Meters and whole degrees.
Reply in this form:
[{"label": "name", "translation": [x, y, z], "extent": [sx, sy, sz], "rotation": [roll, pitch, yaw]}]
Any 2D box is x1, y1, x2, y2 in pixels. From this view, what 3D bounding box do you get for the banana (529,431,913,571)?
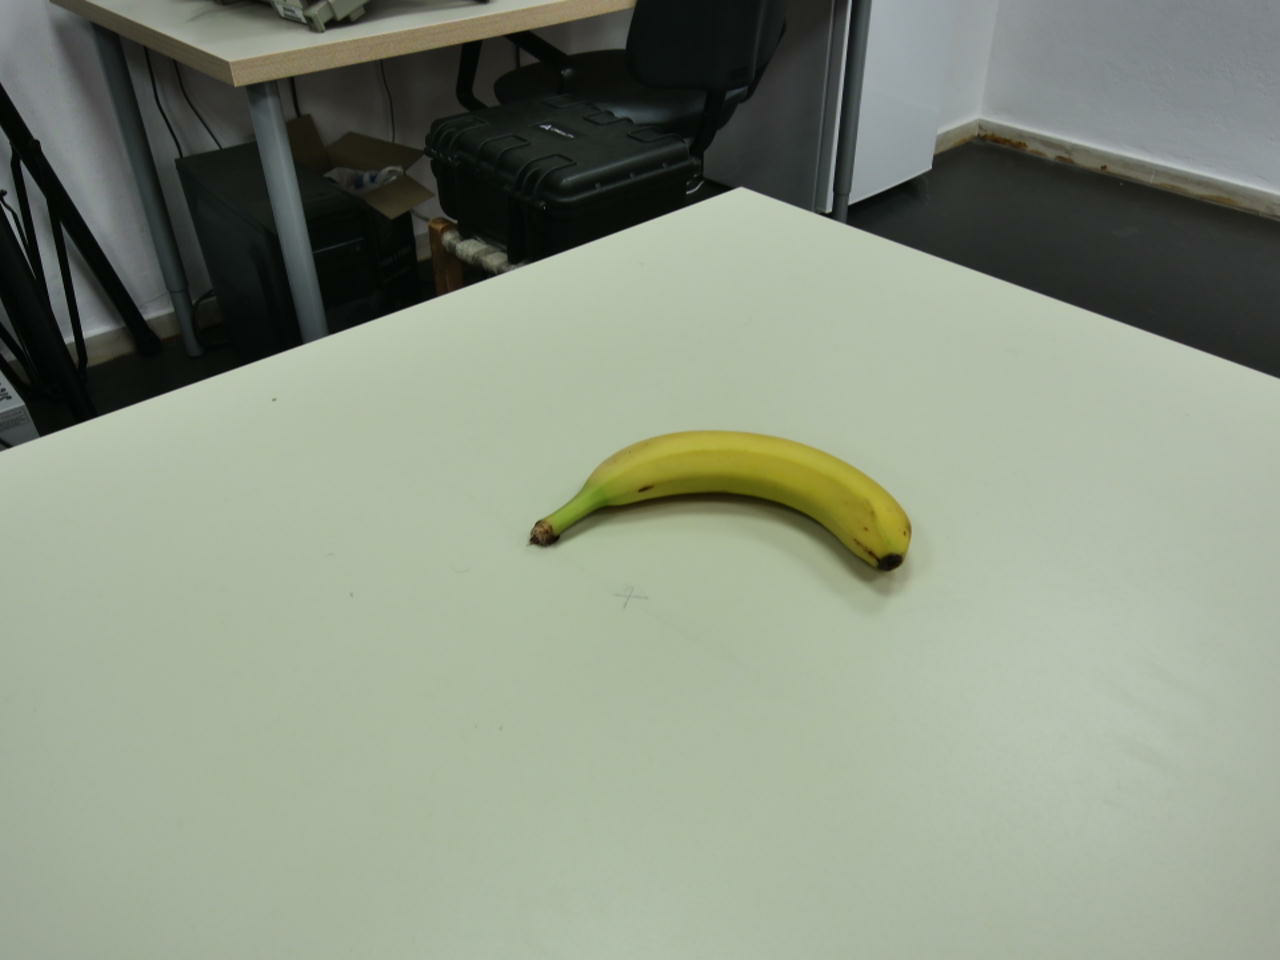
[{"label": "banana", "translation": [0.046, 0.006, 0.547], "extent": [0.196, 0.041, 0.094], "rotation": [8, 37, 12]}]
